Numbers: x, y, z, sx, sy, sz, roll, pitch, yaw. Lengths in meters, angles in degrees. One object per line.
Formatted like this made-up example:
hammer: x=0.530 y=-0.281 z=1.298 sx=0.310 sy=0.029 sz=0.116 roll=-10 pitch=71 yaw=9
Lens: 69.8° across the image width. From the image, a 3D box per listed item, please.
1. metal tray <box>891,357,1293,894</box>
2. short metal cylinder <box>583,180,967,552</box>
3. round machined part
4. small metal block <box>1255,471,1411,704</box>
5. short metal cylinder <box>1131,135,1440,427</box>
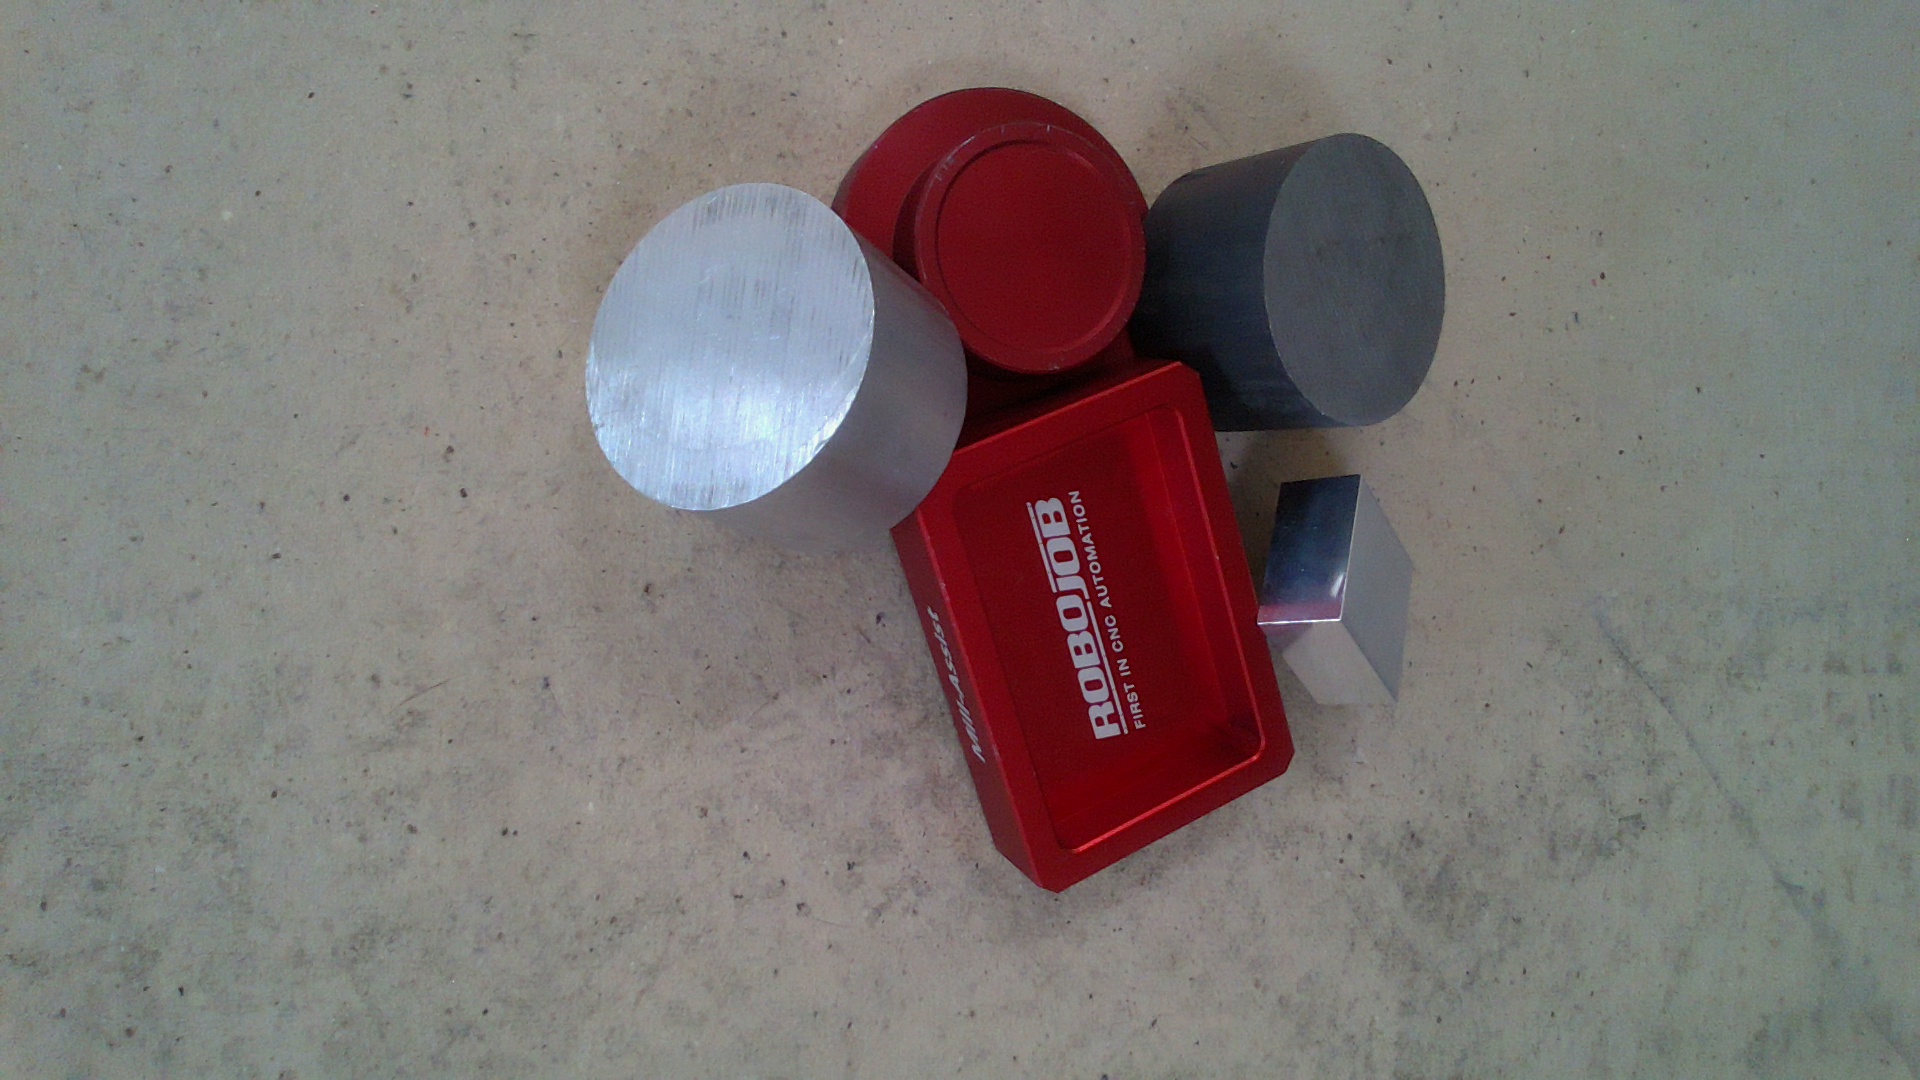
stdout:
metal tray: x=0.038 y=0.023 z=0.393 sx=0.090 sy=0.030 sz=0.130 roll=-23 pitch=107 yaw=-19
short metal cylinder: x=-0.045 y=-0.041 z=0.341 sx=0.050 sy=0.080 sz=0.080 roll=26 pitch=78 yaw=-62
round machined part: x=0.013 y=-0.080 z=0.390 sx=0.098 sy=0.042 sz=0.098 roll=0 pitch=90 yaw=-20
small metal block: x=0.114 y=0.015 z=0.417 sx=0.050 sy=0.025 sz=0.050 roll=46 pitch=49 yaw=-41
short metal cylinder: x=0.096 y=-0.073 z=0.404 sx=0.080 sy=0.050 sz=0.080 roll=-2 pitch=93 yaw=-38
